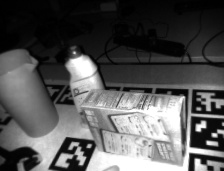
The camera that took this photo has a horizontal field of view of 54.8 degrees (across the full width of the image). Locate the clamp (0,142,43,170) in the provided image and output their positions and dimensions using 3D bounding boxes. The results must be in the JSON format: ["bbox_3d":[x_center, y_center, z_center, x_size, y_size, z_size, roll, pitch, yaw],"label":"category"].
[{"bbox_3d":[-0.273,0.196,0.591,0.165,0.037,0.121,-8,36,6],"label":"clamp"}]

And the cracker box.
[{"bbox_3d":[0.048,0.082,0.505,0.211,0.165,0.072,1,38,22],"label":"cracker box"}]

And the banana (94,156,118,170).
[{"bbox_3d":[-0.073,0.222,0.506,0.198,0.039,0.073,-20,37,-7],"label":"banana"}]

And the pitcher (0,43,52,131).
[{"bbox_3d":[-0.271,0.016,0.613,0.188,0.244,0.132,-9,37,3],"label":"pitcher"}]

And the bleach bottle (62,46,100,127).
[{"bbox_3d":[-0.081,0.010,0.592,0.101,0.253,0.068,1,39,20],"label":"bleach bottle"}]
